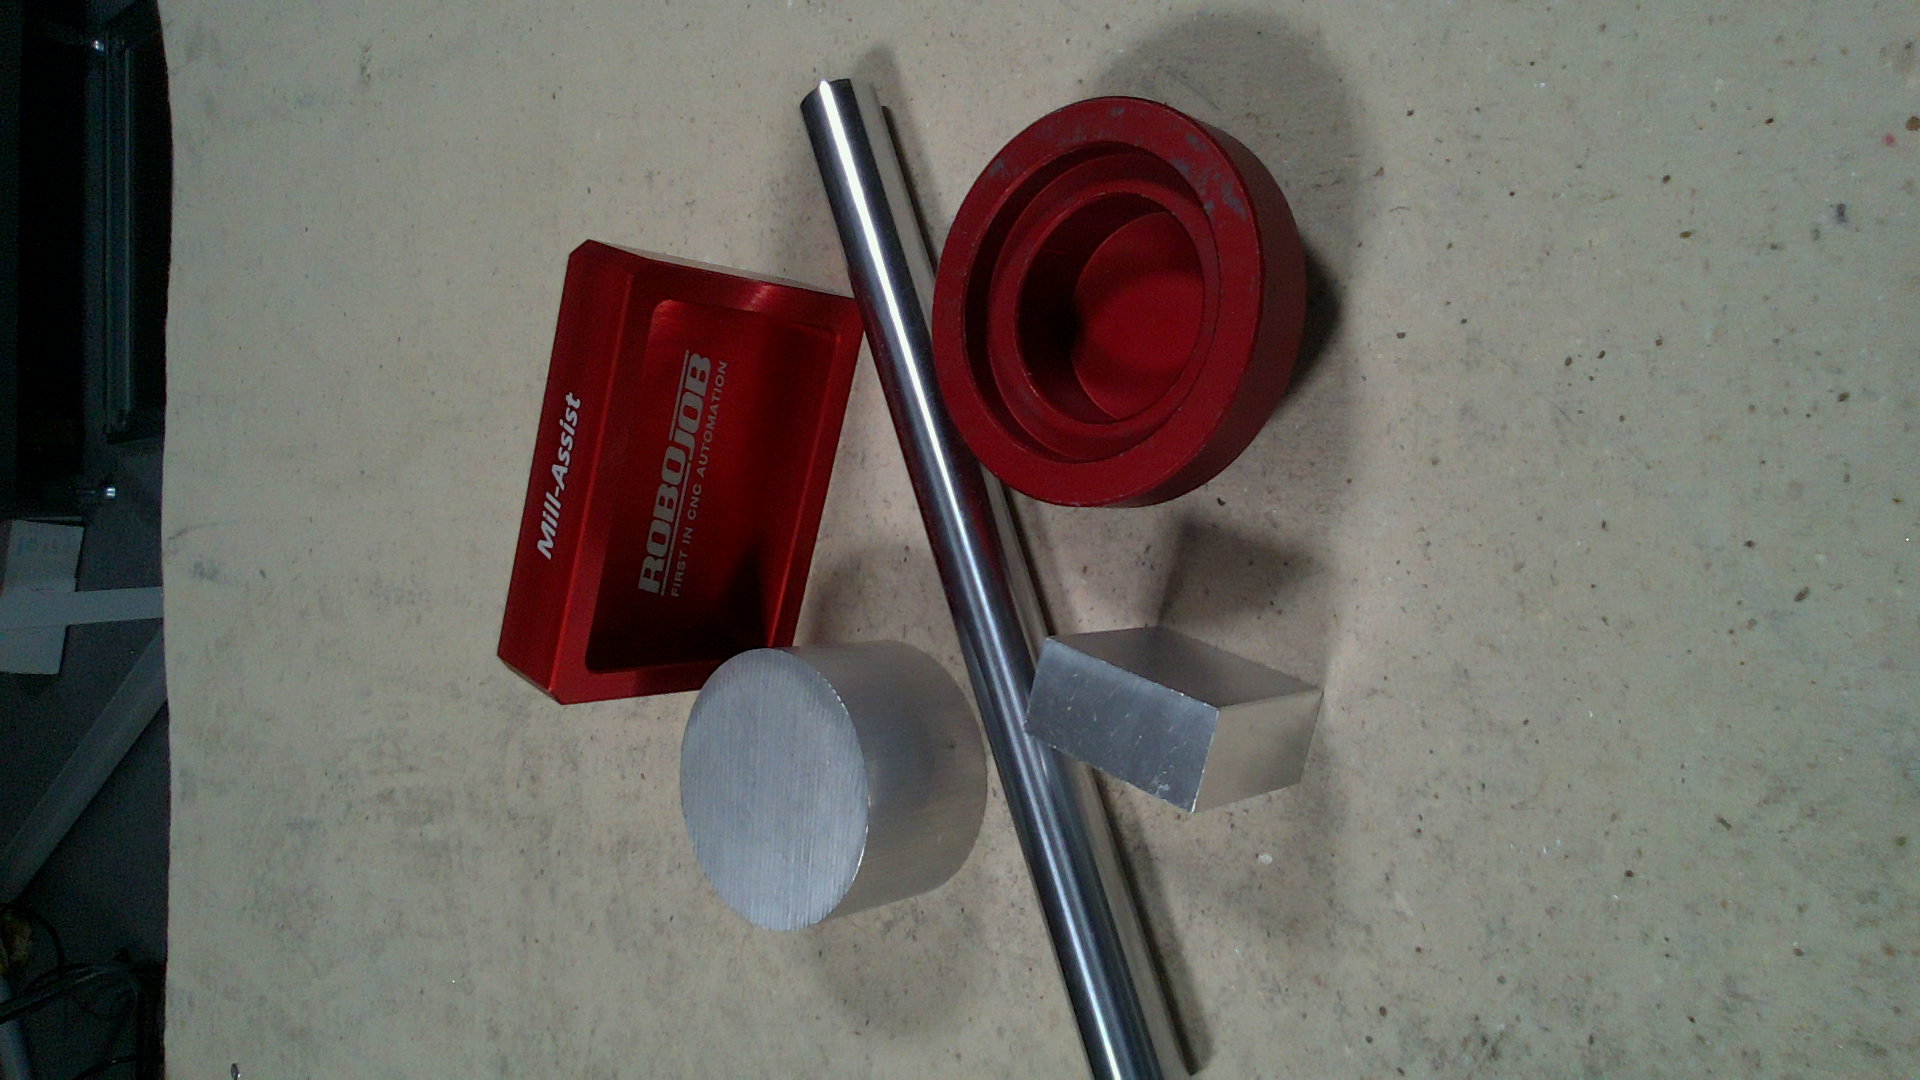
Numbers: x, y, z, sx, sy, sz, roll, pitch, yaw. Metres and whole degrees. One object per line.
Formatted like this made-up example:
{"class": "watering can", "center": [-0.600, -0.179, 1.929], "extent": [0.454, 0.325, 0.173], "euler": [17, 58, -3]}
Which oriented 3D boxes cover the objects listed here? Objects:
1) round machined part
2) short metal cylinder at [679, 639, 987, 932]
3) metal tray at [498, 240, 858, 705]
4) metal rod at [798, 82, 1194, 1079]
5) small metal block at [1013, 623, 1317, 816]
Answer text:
{"class": "round machined part", "center": [0.043, -0.057, 0.348], "extent": [0.098, 0.042, 0.098], "euler": [0, 90, 40]}
{"class": "short metal cylinder", "center": [-0.039, 0.071, 0.411], "extent": [0.080, 0.050, 0.080], "euler": [0, 90, 40]}
{"class": "metal tray", "center": [-0.084, -0.019, 0.423], "extent": [0.030, 0.090, 0.130], "euler": [23, 105, 38]}
{"class": "metal rod", "center": [0.005, 0.004, 0.391], "extent": [0.025, 0.025, 0.300], "euler": [-28, 72, 37]}
{"class": "small metal block", "center": [0.050, 0.041, 0.333], "extent": [0.050, 0.050, 0.025], "euler": [21, 104, 38]}
